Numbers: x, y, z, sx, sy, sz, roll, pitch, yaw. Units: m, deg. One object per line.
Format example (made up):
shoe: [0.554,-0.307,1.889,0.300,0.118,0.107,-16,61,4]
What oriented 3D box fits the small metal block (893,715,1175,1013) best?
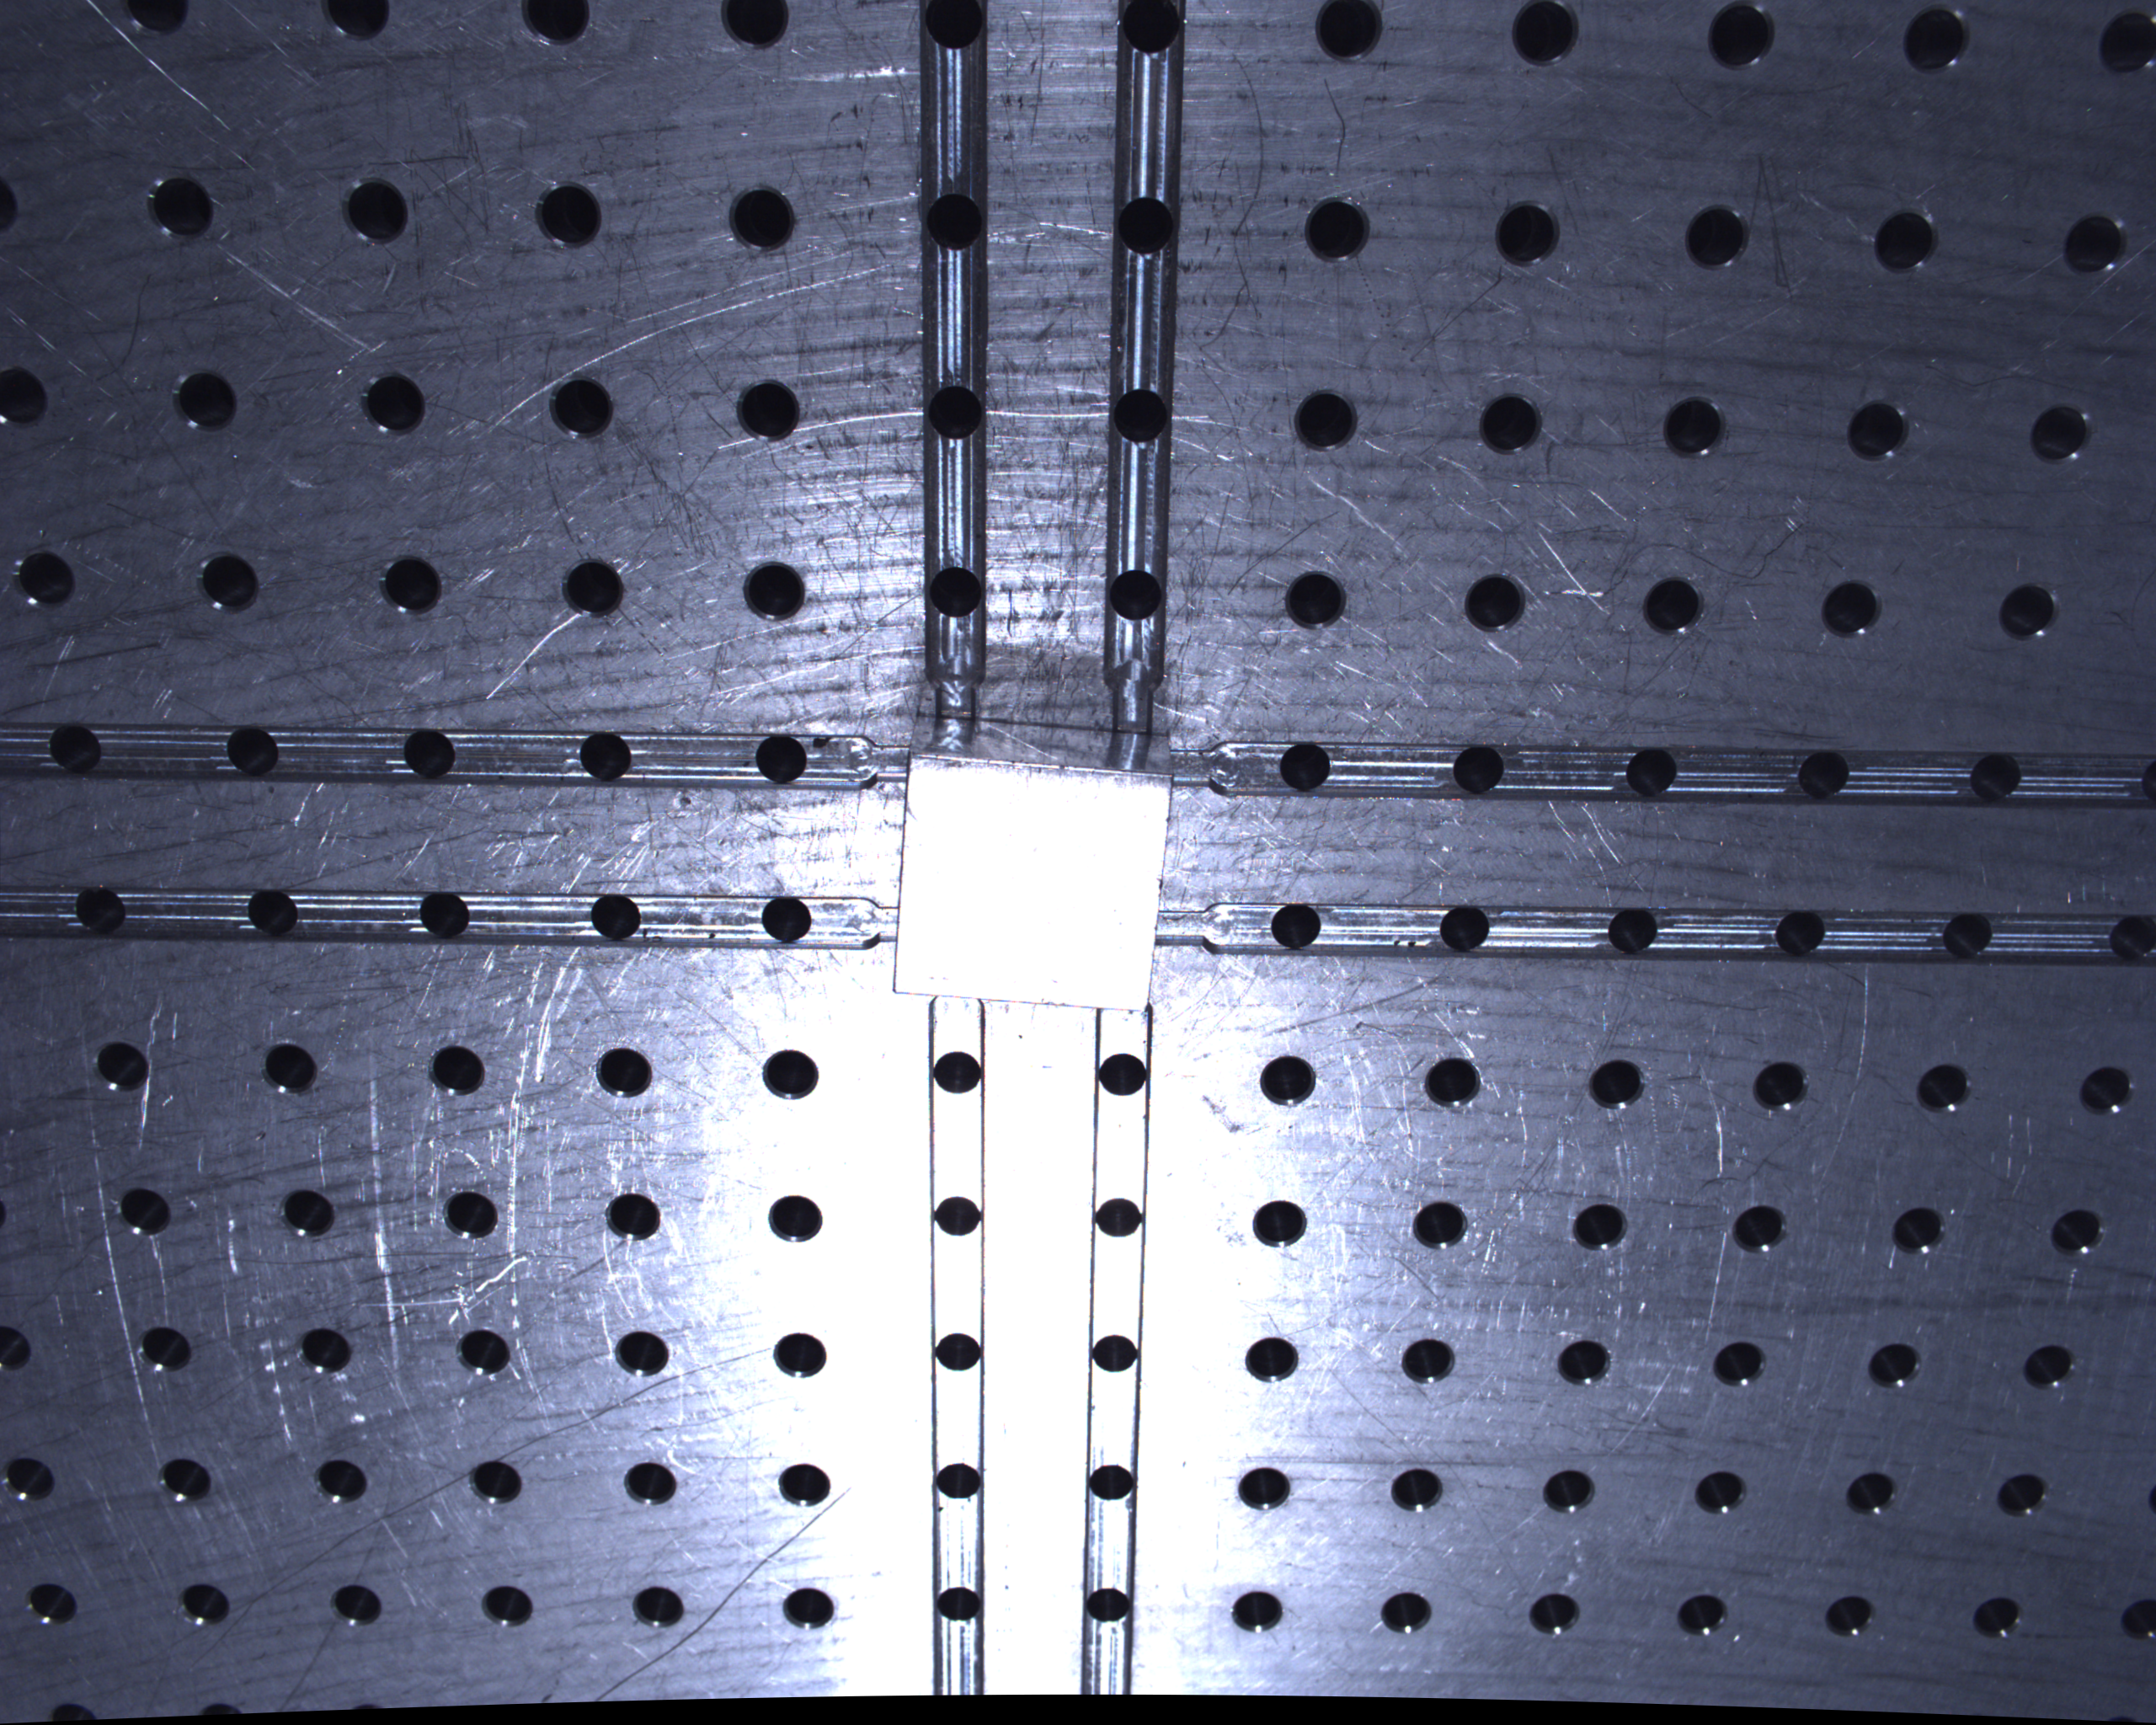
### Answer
small metal block: [-0.009,0.000,0.413,0.050,0.025,0.050,5,110,-2]
